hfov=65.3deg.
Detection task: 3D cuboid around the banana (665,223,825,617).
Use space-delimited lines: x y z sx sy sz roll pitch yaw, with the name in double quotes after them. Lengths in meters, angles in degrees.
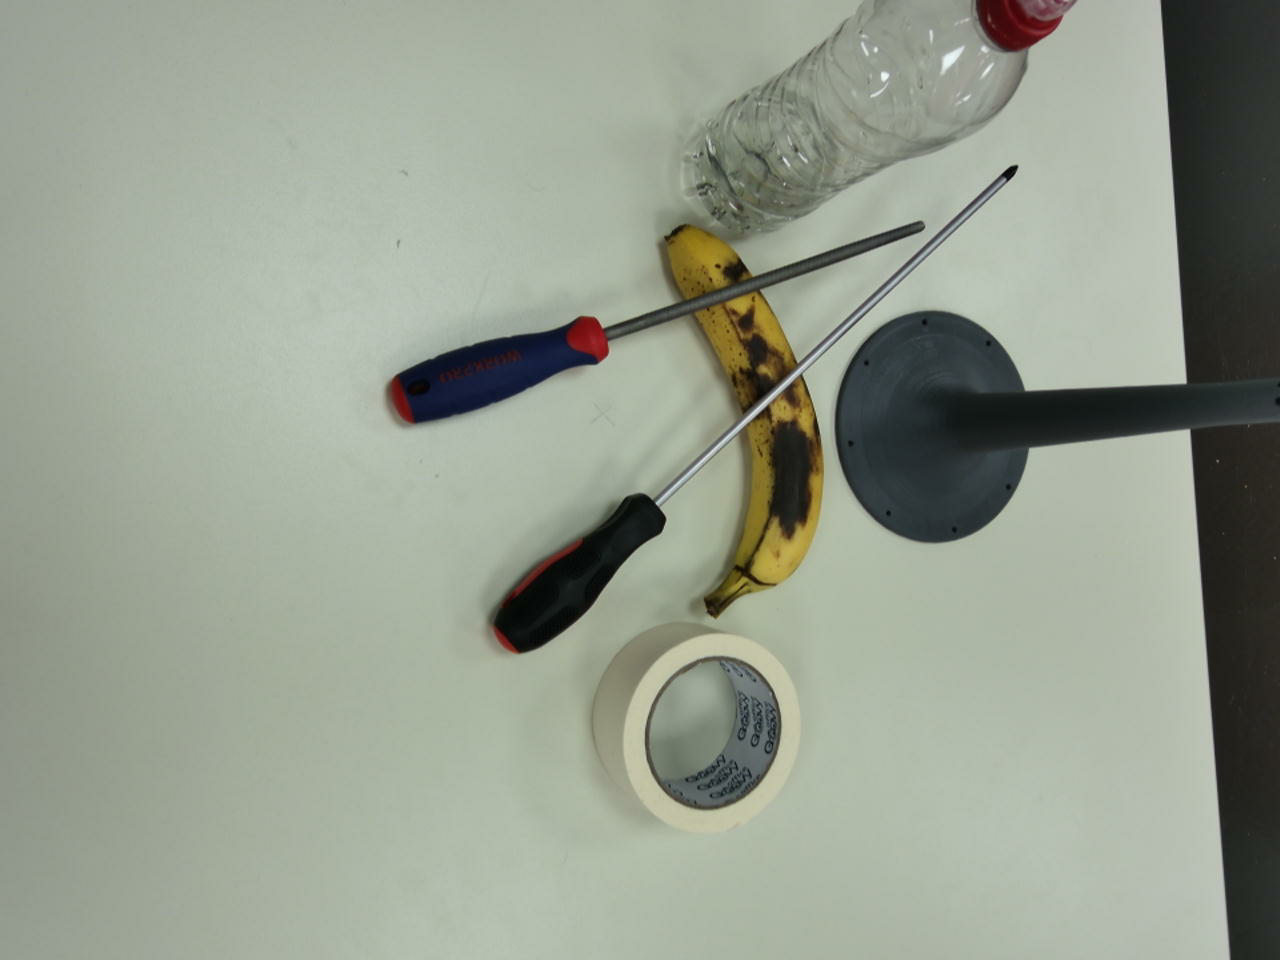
0.066 -0.036 0.576 0.084 0.038 0.222 -5 93 -21 "banana"
